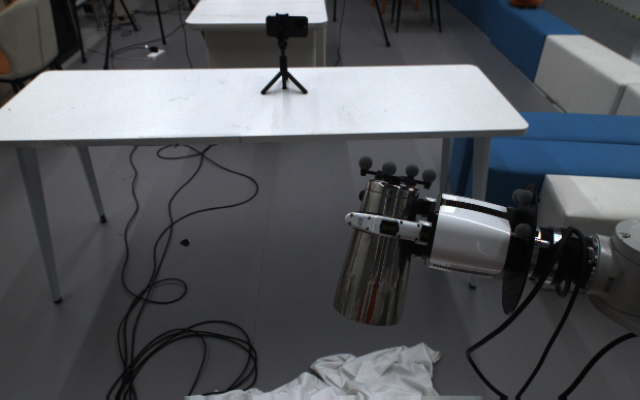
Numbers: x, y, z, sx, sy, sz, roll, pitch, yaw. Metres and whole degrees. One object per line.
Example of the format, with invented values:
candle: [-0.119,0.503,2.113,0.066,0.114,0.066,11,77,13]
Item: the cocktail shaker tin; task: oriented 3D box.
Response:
cocktail shaker tin: [0.081,0.059,0.622,0.093,0.170,0.093,10,9,-2]
